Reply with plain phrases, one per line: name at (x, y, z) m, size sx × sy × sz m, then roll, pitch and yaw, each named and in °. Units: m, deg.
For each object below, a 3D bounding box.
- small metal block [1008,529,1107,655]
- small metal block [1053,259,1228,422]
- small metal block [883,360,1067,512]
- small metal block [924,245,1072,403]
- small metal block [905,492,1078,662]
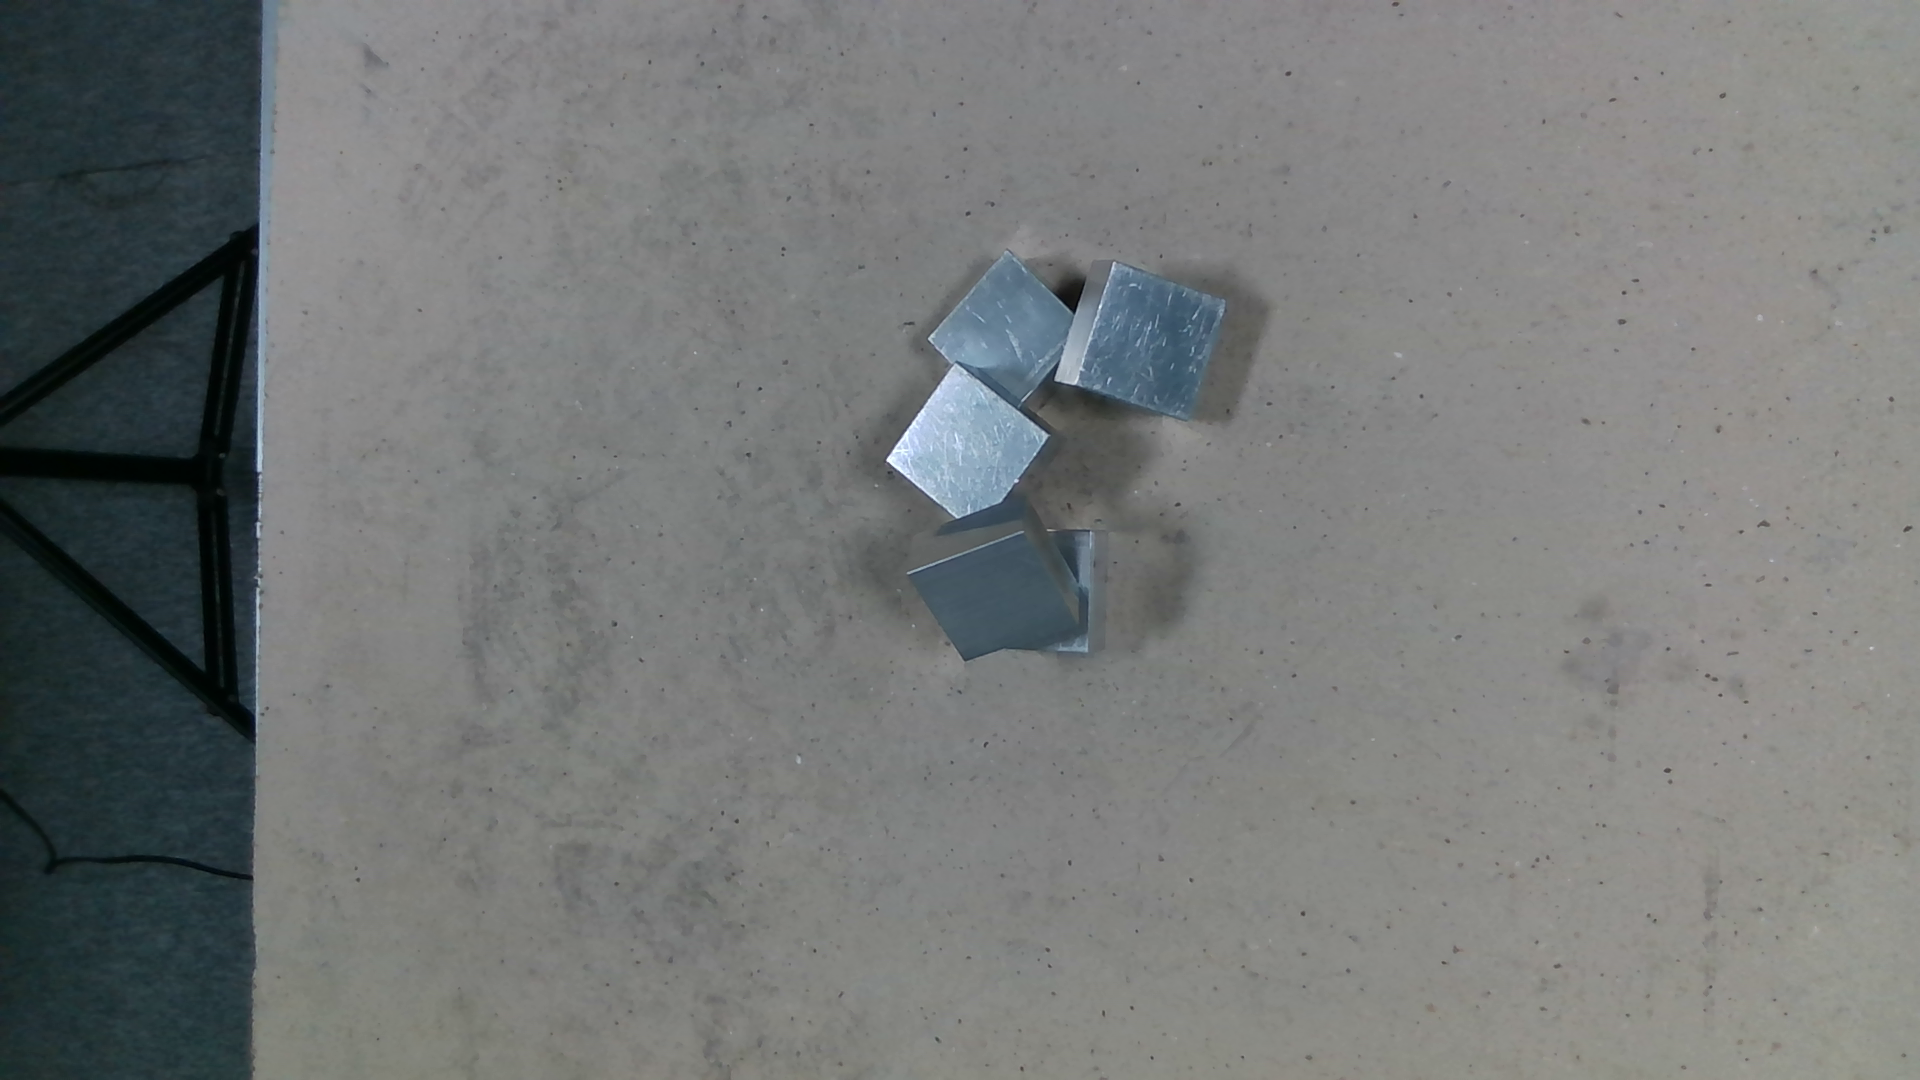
small metal block at (0.033, 0.020, 0.574) m, size 0.050 × 0.025 × 0.050 m, roll 2°, pitch 91°, yaw 20°
small metal block at (0.071, -0.079, 0.546) m, size 0.050 × 0.025 × 0.050 m, roll 15°, pitch 97°, yaw -17°
small metal block at (0.006, -0.036, 0.555) m, size 0.050 × 0.025 × 0.050 m, roll 39°, pitch 103°, yaw 16°
small metal block at (0.022, -0.085, 0.576) m, size 0.050 × 0.025 × 0.050 m, roll -47°, pitch 76°, yaw 15°
small metal block at (0.013, 0.015, 0.541) m, size 0.050 × 0.025 × 0.050 m, roll -20°, pitch 123°, yaw 19°
